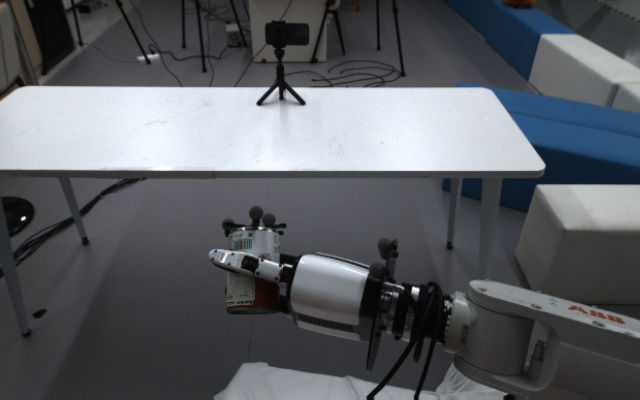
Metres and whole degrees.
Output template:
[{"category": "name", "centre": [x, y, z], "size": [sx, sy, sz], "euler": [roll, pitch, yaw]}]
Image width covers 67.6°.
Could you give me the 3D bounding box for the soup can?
[{"category": "soup can", "centre": [-0.081, 0.090, 0.610], "size": [0.067, 0.067, 0.101], "euler": [-1, 71, -5]}]
